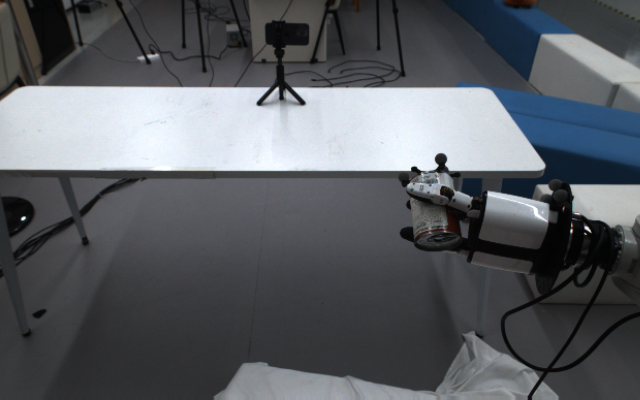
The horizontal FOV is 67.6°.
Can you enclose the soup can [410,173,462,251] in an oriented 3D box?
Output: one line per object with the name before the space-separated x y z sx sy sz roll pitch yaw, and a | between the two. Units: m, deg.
soup can | 0.169 0.015 0.710 0.067 0.067 0.101 1 61 -2
